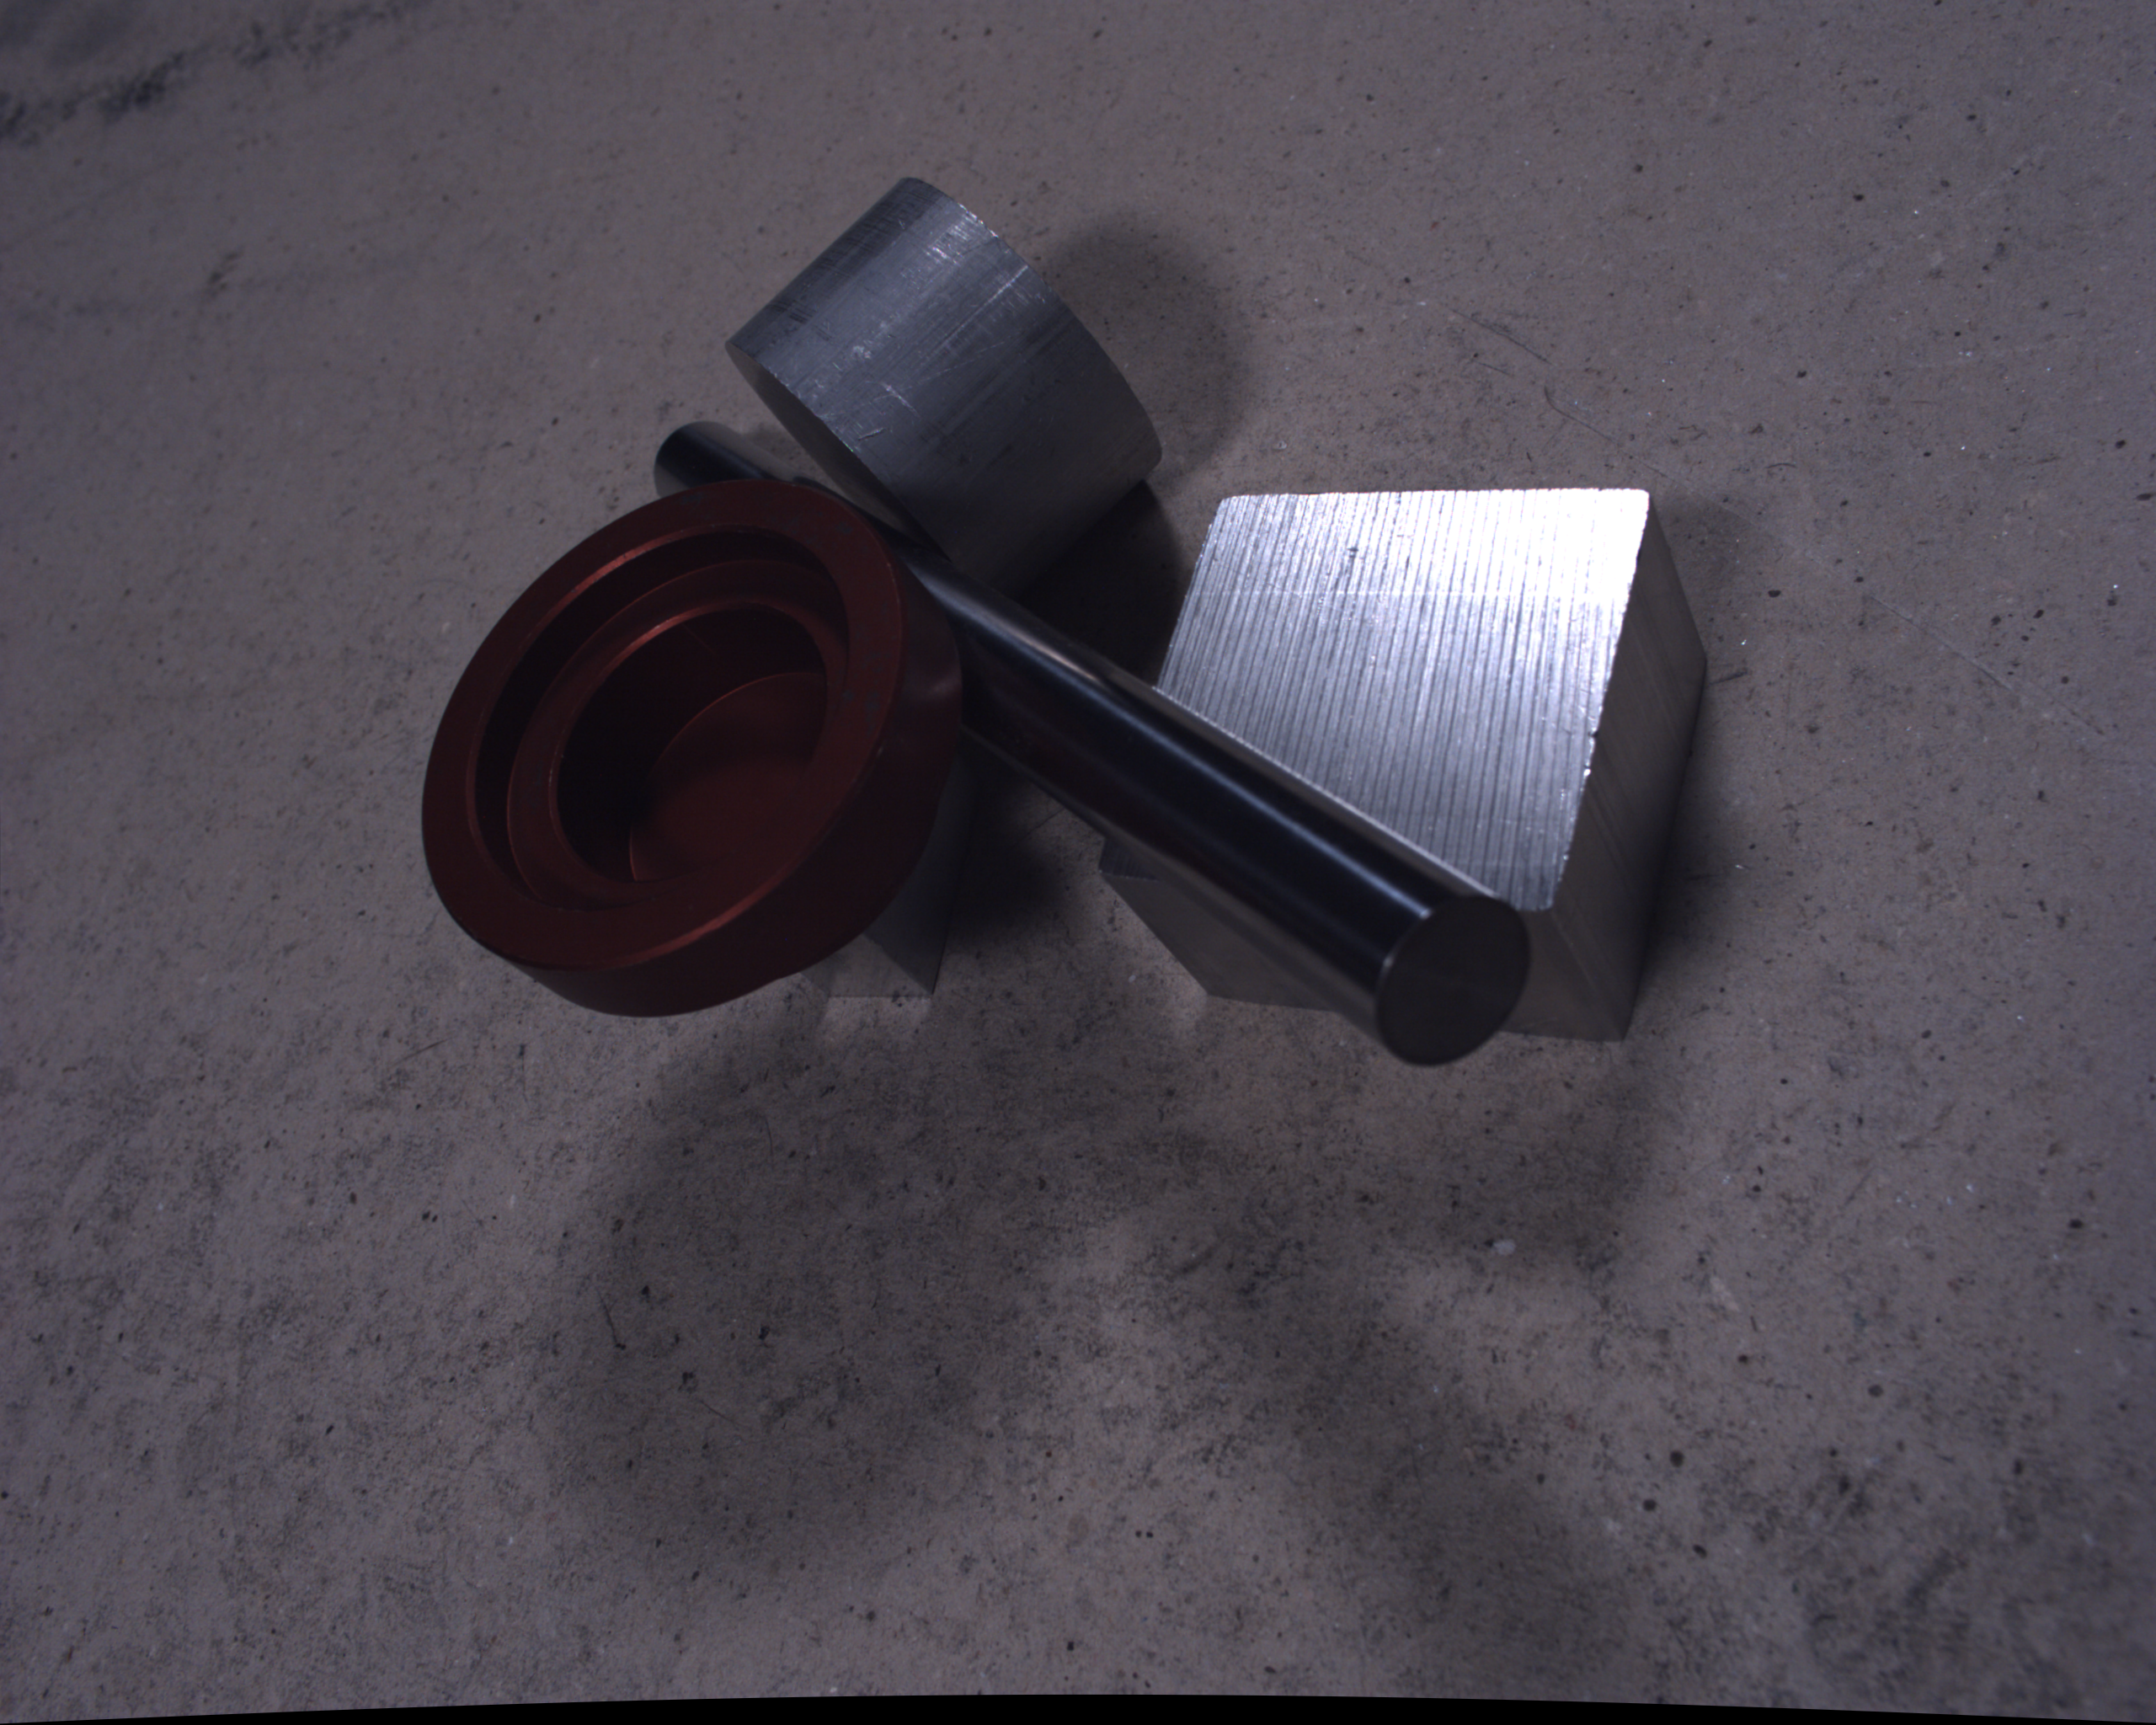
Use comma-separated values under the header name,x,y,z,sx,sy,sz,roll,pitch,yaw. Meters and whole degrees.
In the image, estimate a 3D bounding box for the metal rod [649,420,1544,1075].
name,x,y,z,sx,sy,sz,roll,pitch,yaw
metal rod,-0.021,-0.040,0.391,0.025,0.025,0.300,-46,37,-4

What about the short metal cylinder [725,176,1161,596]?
name,x,y,z,sx,sy,sz,roll,pitch,yaw
short metal cylinder,-0.029,-0.097,0.443,0.050,0.080,0.080,-45,51,-3

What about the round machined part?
name,x,y,z,sx,sy,sz,roll,pitch,yaw
round machined part,-0.064,-0.017,0.374,0.098,0.042,0.098,-12,58,21

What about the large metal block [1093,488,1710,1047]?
name,x,y,z,sx,sy,sz,roll,pitch,yaw
large metal block,0.059,-0.018,0.369,0.080,0.050,0.080,5,64,30

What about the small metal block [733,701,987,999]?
name,x,y,z,sx,sy,sz,roll,pitch,yaw
small metal block,-0.046,-0.006,0.416,0.025,0.050,0.050,-2,61,27
